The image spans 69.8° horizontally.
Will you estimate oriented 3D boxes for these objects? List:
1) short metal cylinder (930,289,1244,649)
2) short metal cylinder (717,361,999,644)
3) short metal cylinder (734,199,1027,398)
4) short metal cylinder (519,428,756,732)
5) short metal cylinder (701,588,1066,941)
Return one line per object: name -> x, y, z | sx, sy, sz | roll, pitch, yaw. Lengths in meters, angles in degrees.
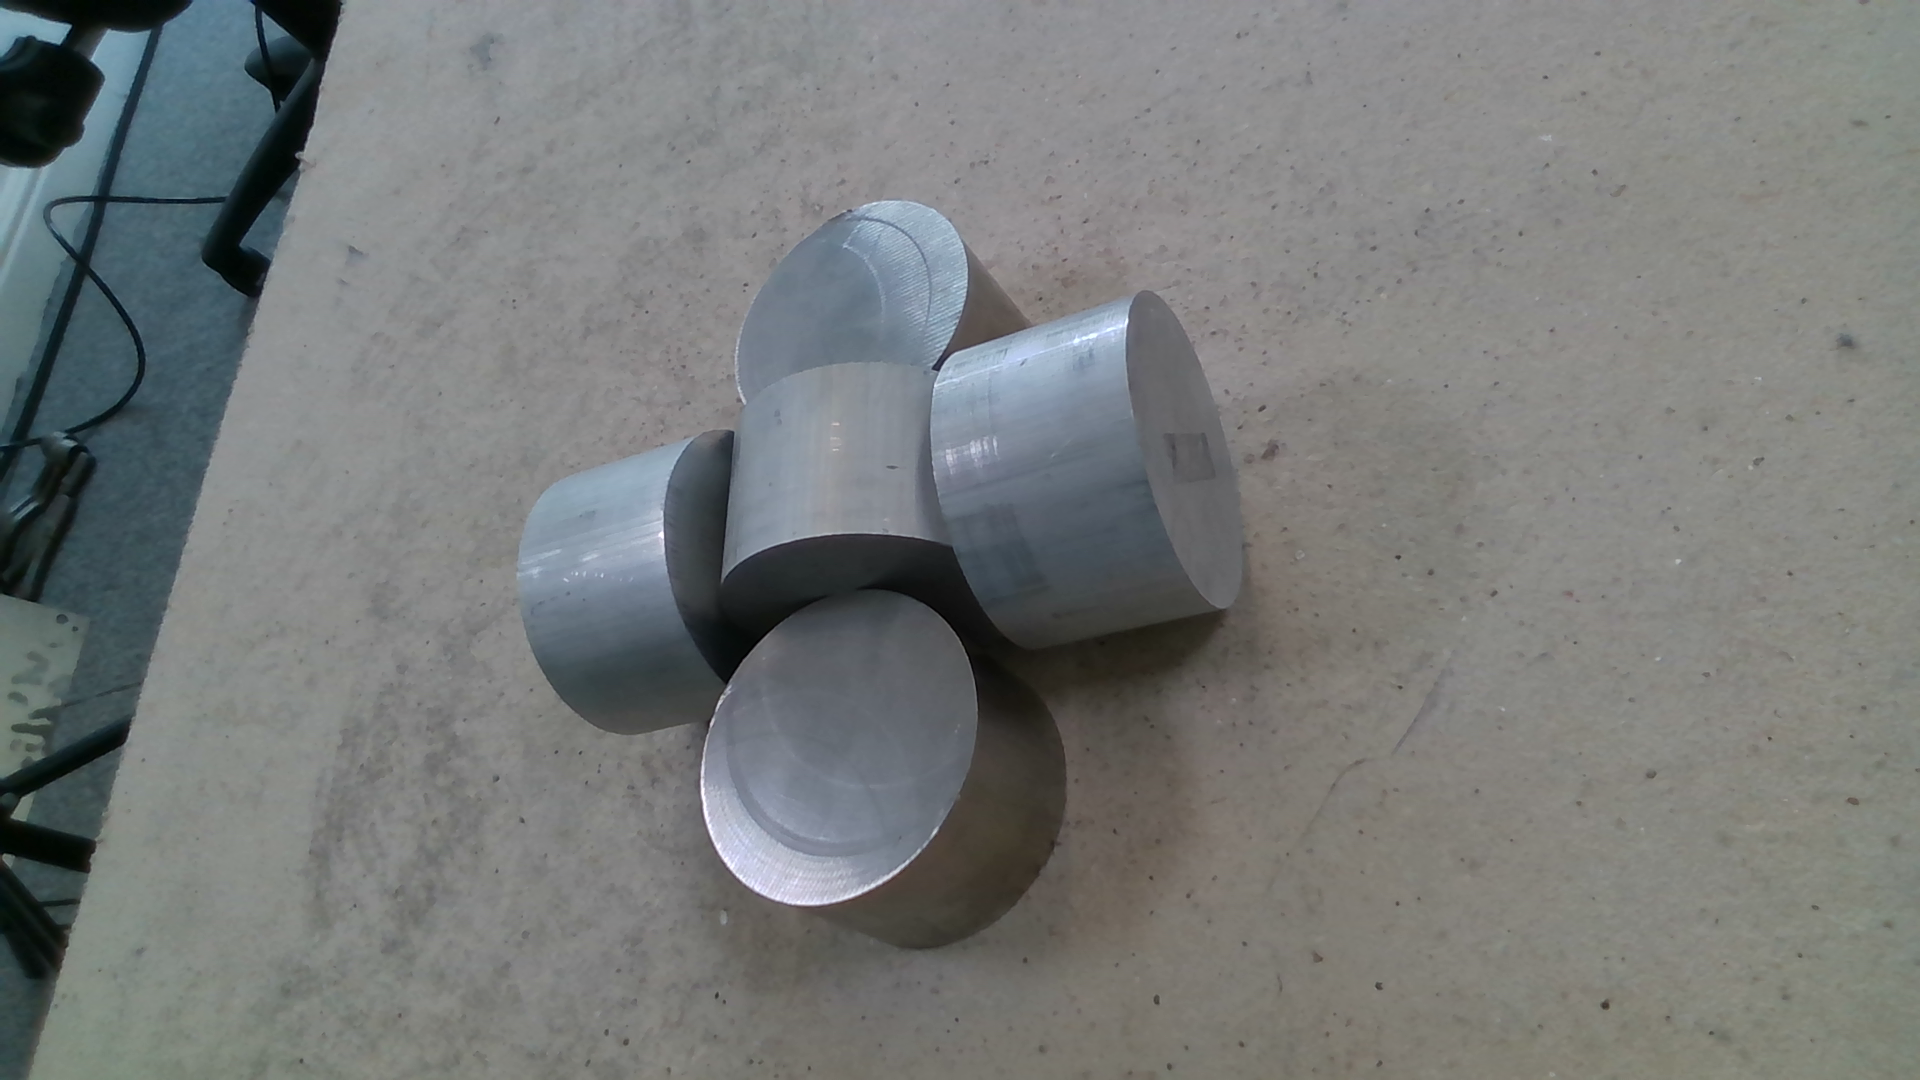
short metal cylinder -> 0.034, -0.017, 0.346 | 0.050, 0.080, 0.080 | -14, 59, 25
short metal cylinder -> -0.024, -0.005, 0.375 | 0.080, 0.080, 0.050 | -14, 59, 25
short metal cylinder -> -0.021, -0.055, 0.420 | 0.080, 0.050, 0.080 | -14, 60, 25
short metal cylinder -> -0.081, 0.012, 0.402 | 0.050, 0.080, 0.080 | -14, 59, 24
short metal cylinder -> -0.020, 0.059, 0.357 | 0.080, 0.050, 0.080 | -15, 59, 25
